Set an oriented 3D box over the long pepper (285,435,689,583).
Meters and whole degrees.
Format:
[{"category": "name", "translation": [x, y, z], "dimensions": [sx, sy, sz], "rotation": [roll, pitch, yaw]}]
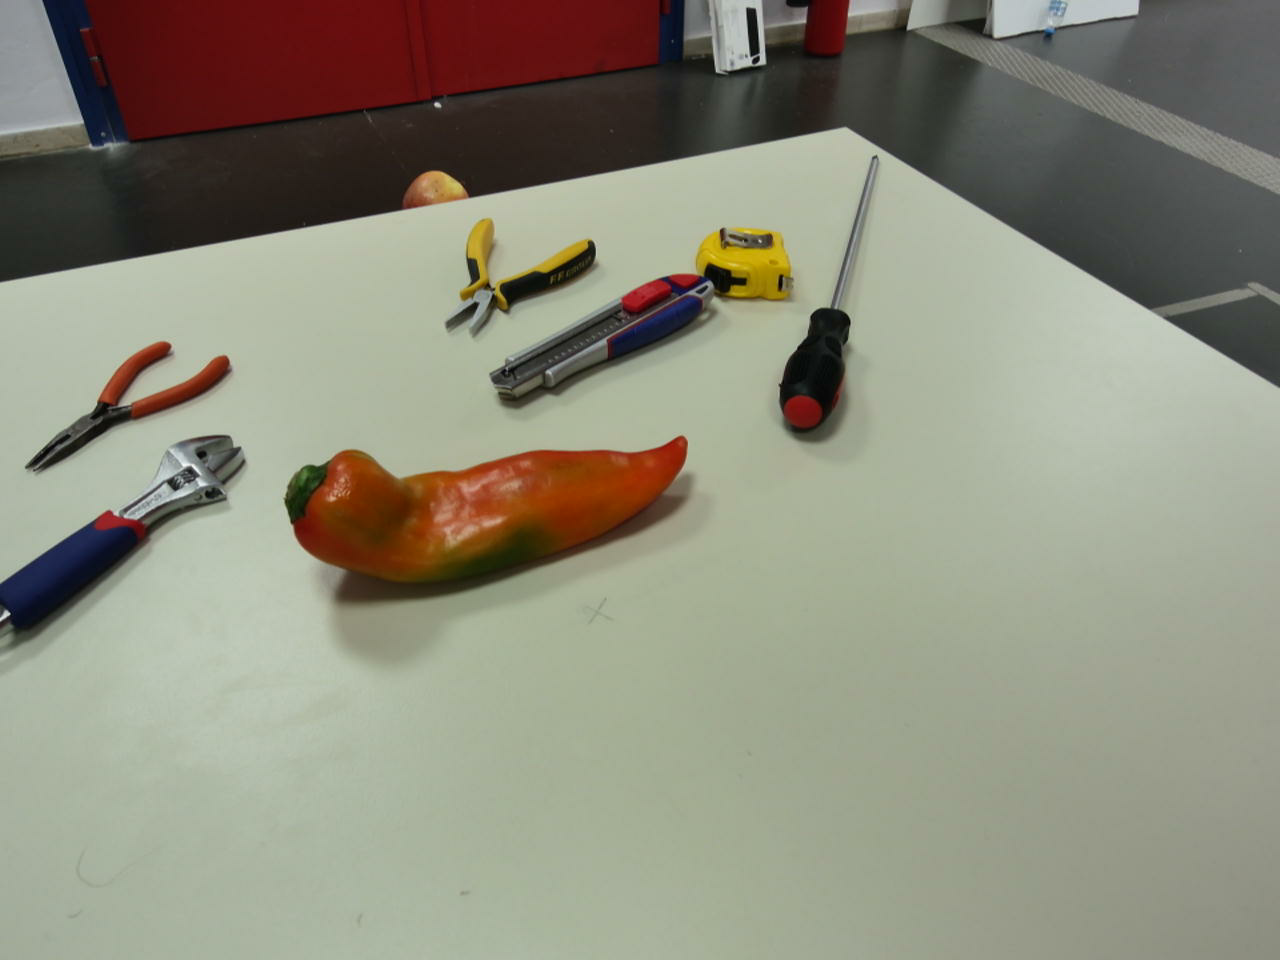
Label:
[{"category": "long pepper", "translation": [-0.066, 0.002, 0.485], "dimensions": [0.199, 0.065, 0.066], "rotation": [-13, 40, -16]}]
